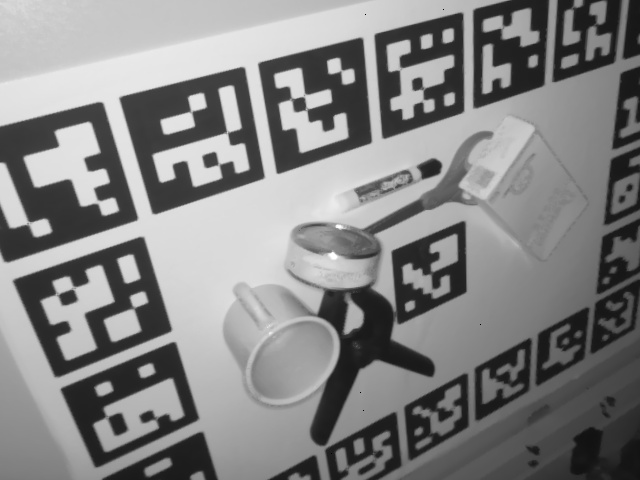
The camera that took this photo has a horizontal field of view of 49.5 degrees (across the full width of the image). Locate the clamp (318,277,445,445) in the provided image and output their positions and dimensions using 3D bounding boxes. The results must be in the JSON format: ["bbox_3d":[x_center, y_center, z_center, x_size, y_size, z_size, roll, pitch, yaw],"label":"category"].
[{"bbox_3d":[0.045,0.107,0.736,0.167,0.036,0.202,-29,121,-14],"label":"clamp"}]

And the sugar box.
[{"bbox_3d":[0.237,-0.057,0.746,0.093,0.045,0.177,-52,131,1],"label":"sugar box"}]

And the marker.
[{"bbox_3d":[0.084,-0.071,0.677,0.122,0.019,0.019,-23,120,-19],"label":"marker"}]

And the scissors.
[{"bbox_3d":[0.131,-0.049,0.711,0.204,0.016,0.087,-29,126,-13],"label":"scissors"}]

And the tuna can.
[{"bbox_3d":[0.012,0.004,0.631,0.087,0.085,0.033,-3,114,-27],"label":"tuna can"}]

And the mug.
[{"bbox_3d":[-0.036,0.068,0.638,0.093,0.081,0.117,-43,128,-5],"label":"mug"}]
